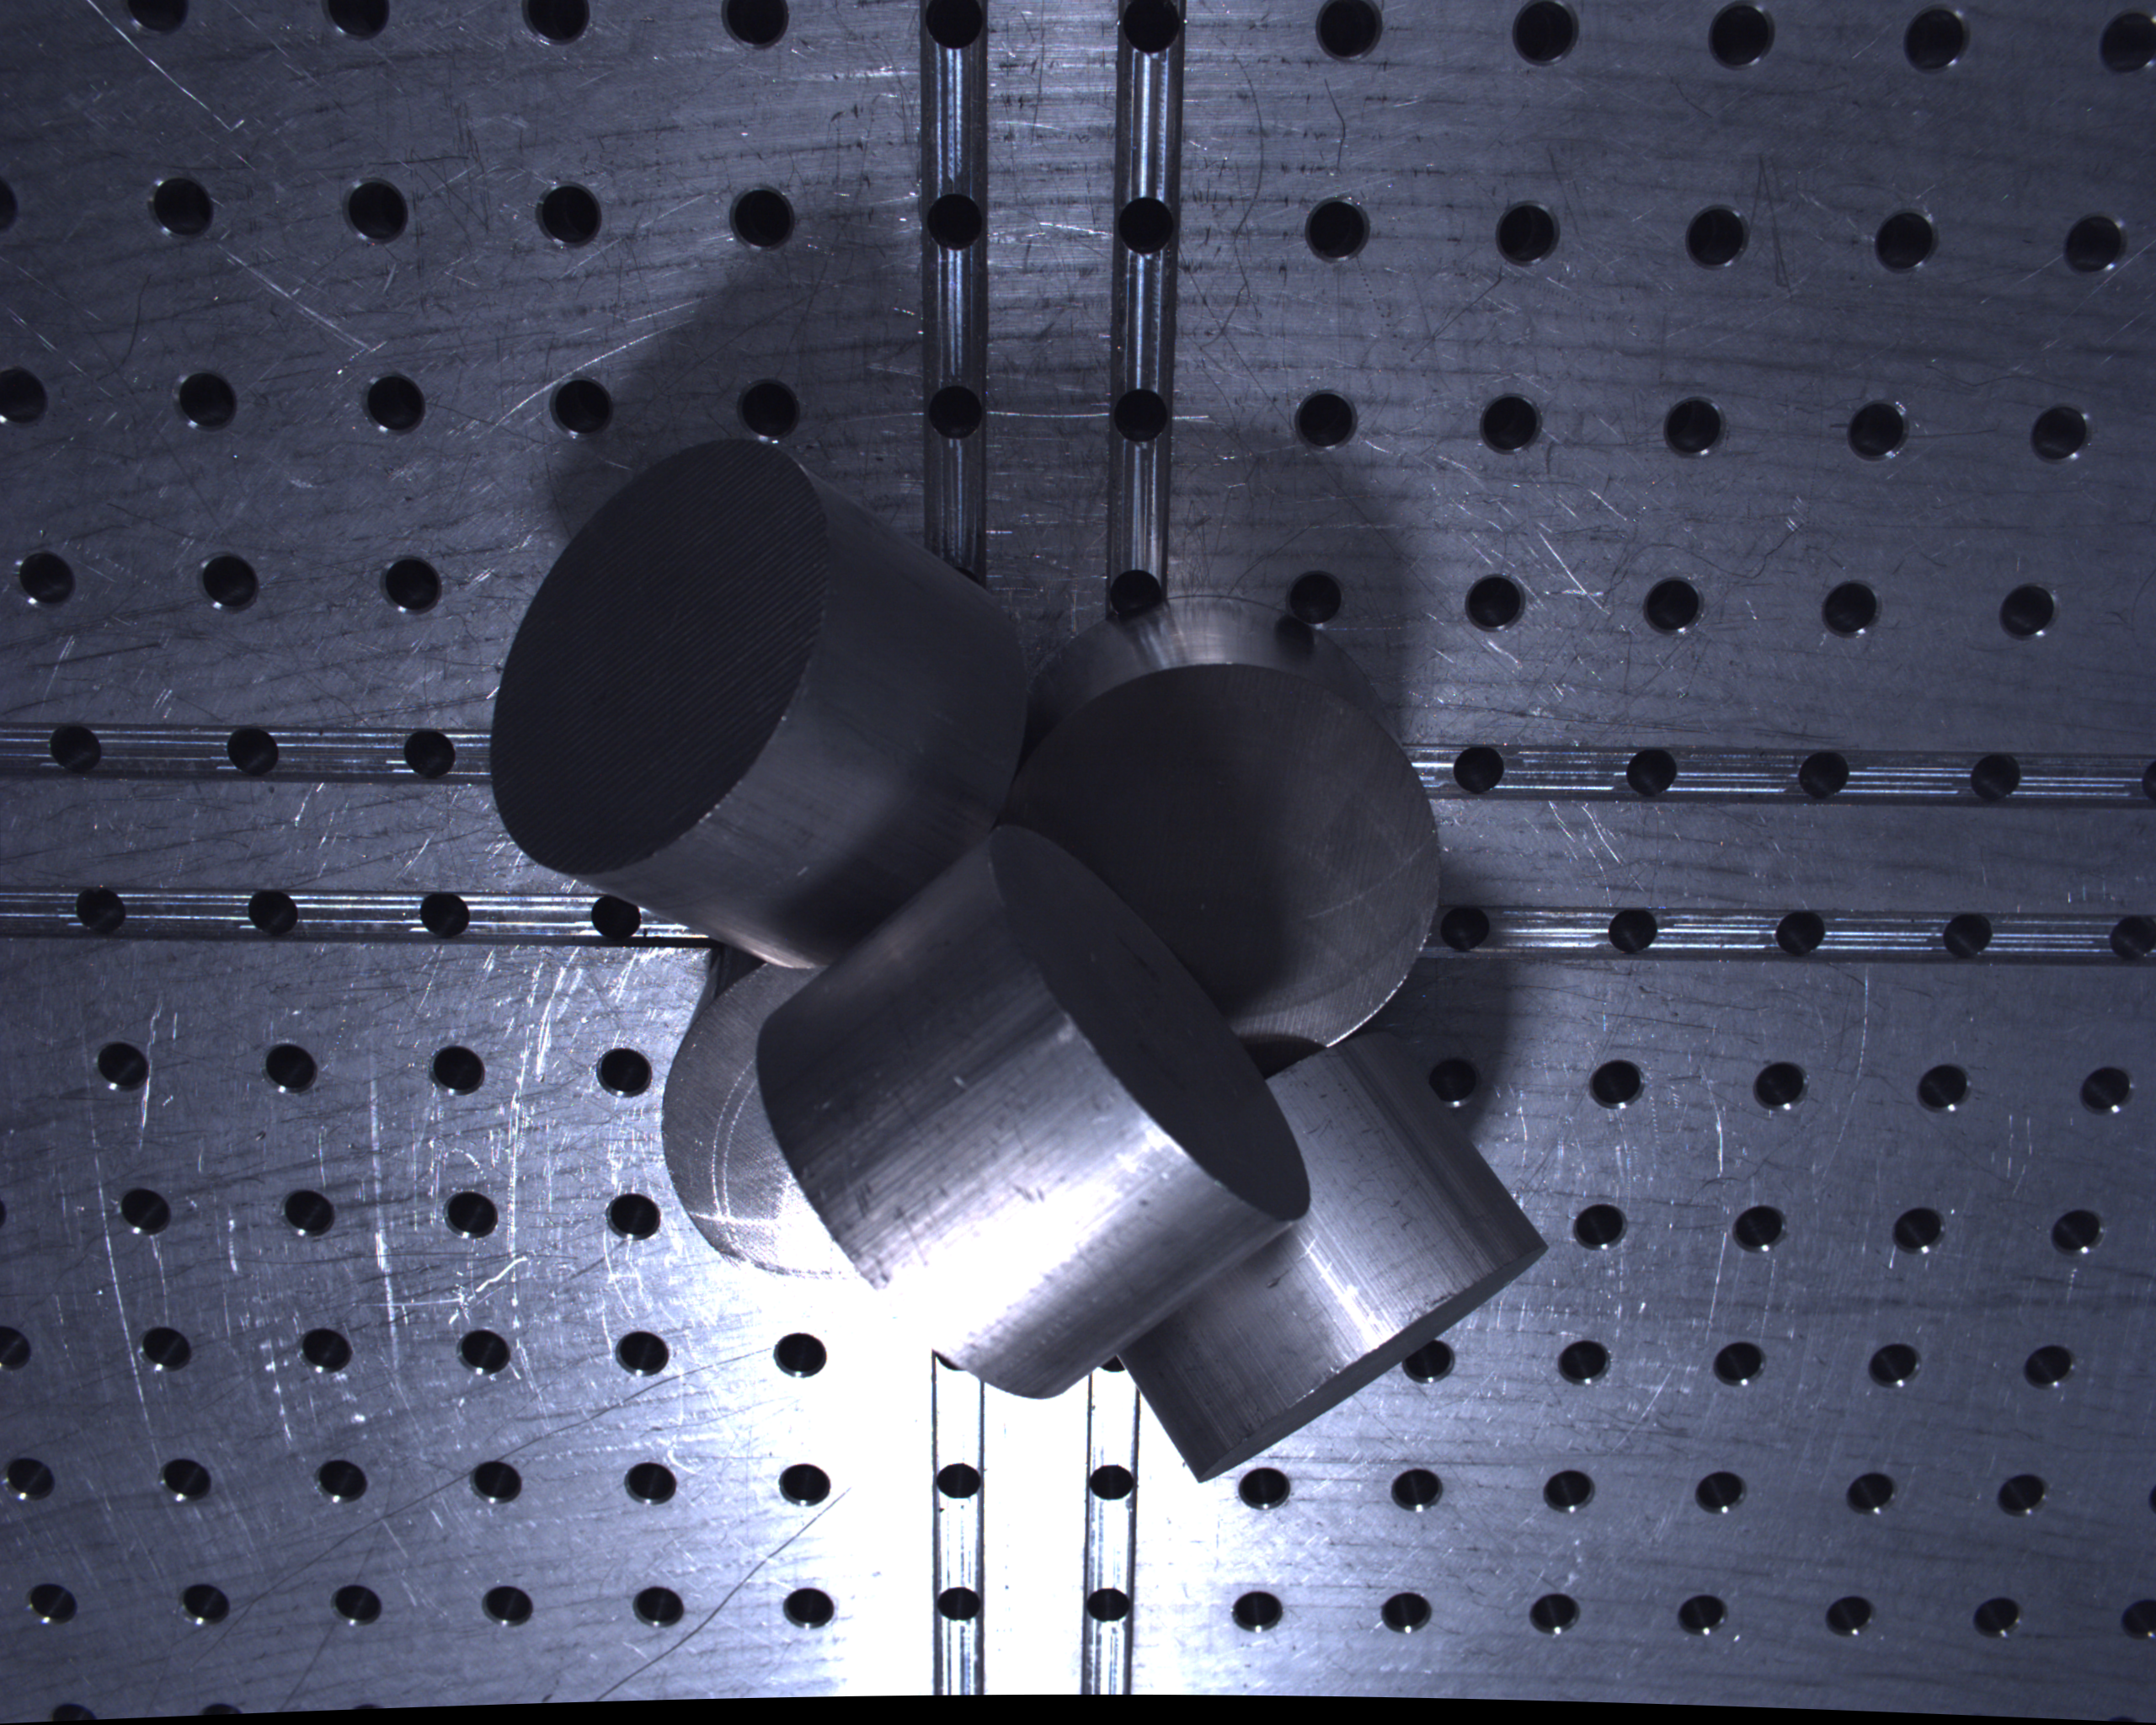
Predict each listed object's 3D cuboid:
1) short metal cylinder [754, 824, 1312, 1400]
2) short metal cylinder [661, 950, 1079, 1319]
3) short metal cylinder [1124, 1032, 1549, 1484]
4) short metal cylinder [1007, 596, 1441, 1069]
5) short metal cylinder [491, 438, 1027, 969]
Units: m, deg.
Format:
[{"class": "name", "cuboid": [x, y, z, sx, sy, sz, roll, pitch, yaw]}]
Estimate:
[{"class": "short metal cylinder", "cuboid": [-0.007, 0.040, 0.344, 0.050, 0.080, 0.080, -39, 106, 13]}, {"class": "short metal cylinder", "cuboid": [-0.038, 0.043, 0.414, 0.081, 0.050, 0.079, 0, 110, -1]}, {"class": "short metal cylinder", "cuboid": [0.043, 0.077, 0.405, 0.080, 0.080, 0.050, -39, 71, 13]}, {"class": "short metal cylinder", "cuboid": [0.025, -0.006, 0.397, 0.081, 0.050, 0.079, 0, 110, -1]}, {"class": "short metal cylinder", "cuboid": [-0.056, -0.027, 0.366, 0.080, 0.080, 0.050, -44, 139, 14]}]
